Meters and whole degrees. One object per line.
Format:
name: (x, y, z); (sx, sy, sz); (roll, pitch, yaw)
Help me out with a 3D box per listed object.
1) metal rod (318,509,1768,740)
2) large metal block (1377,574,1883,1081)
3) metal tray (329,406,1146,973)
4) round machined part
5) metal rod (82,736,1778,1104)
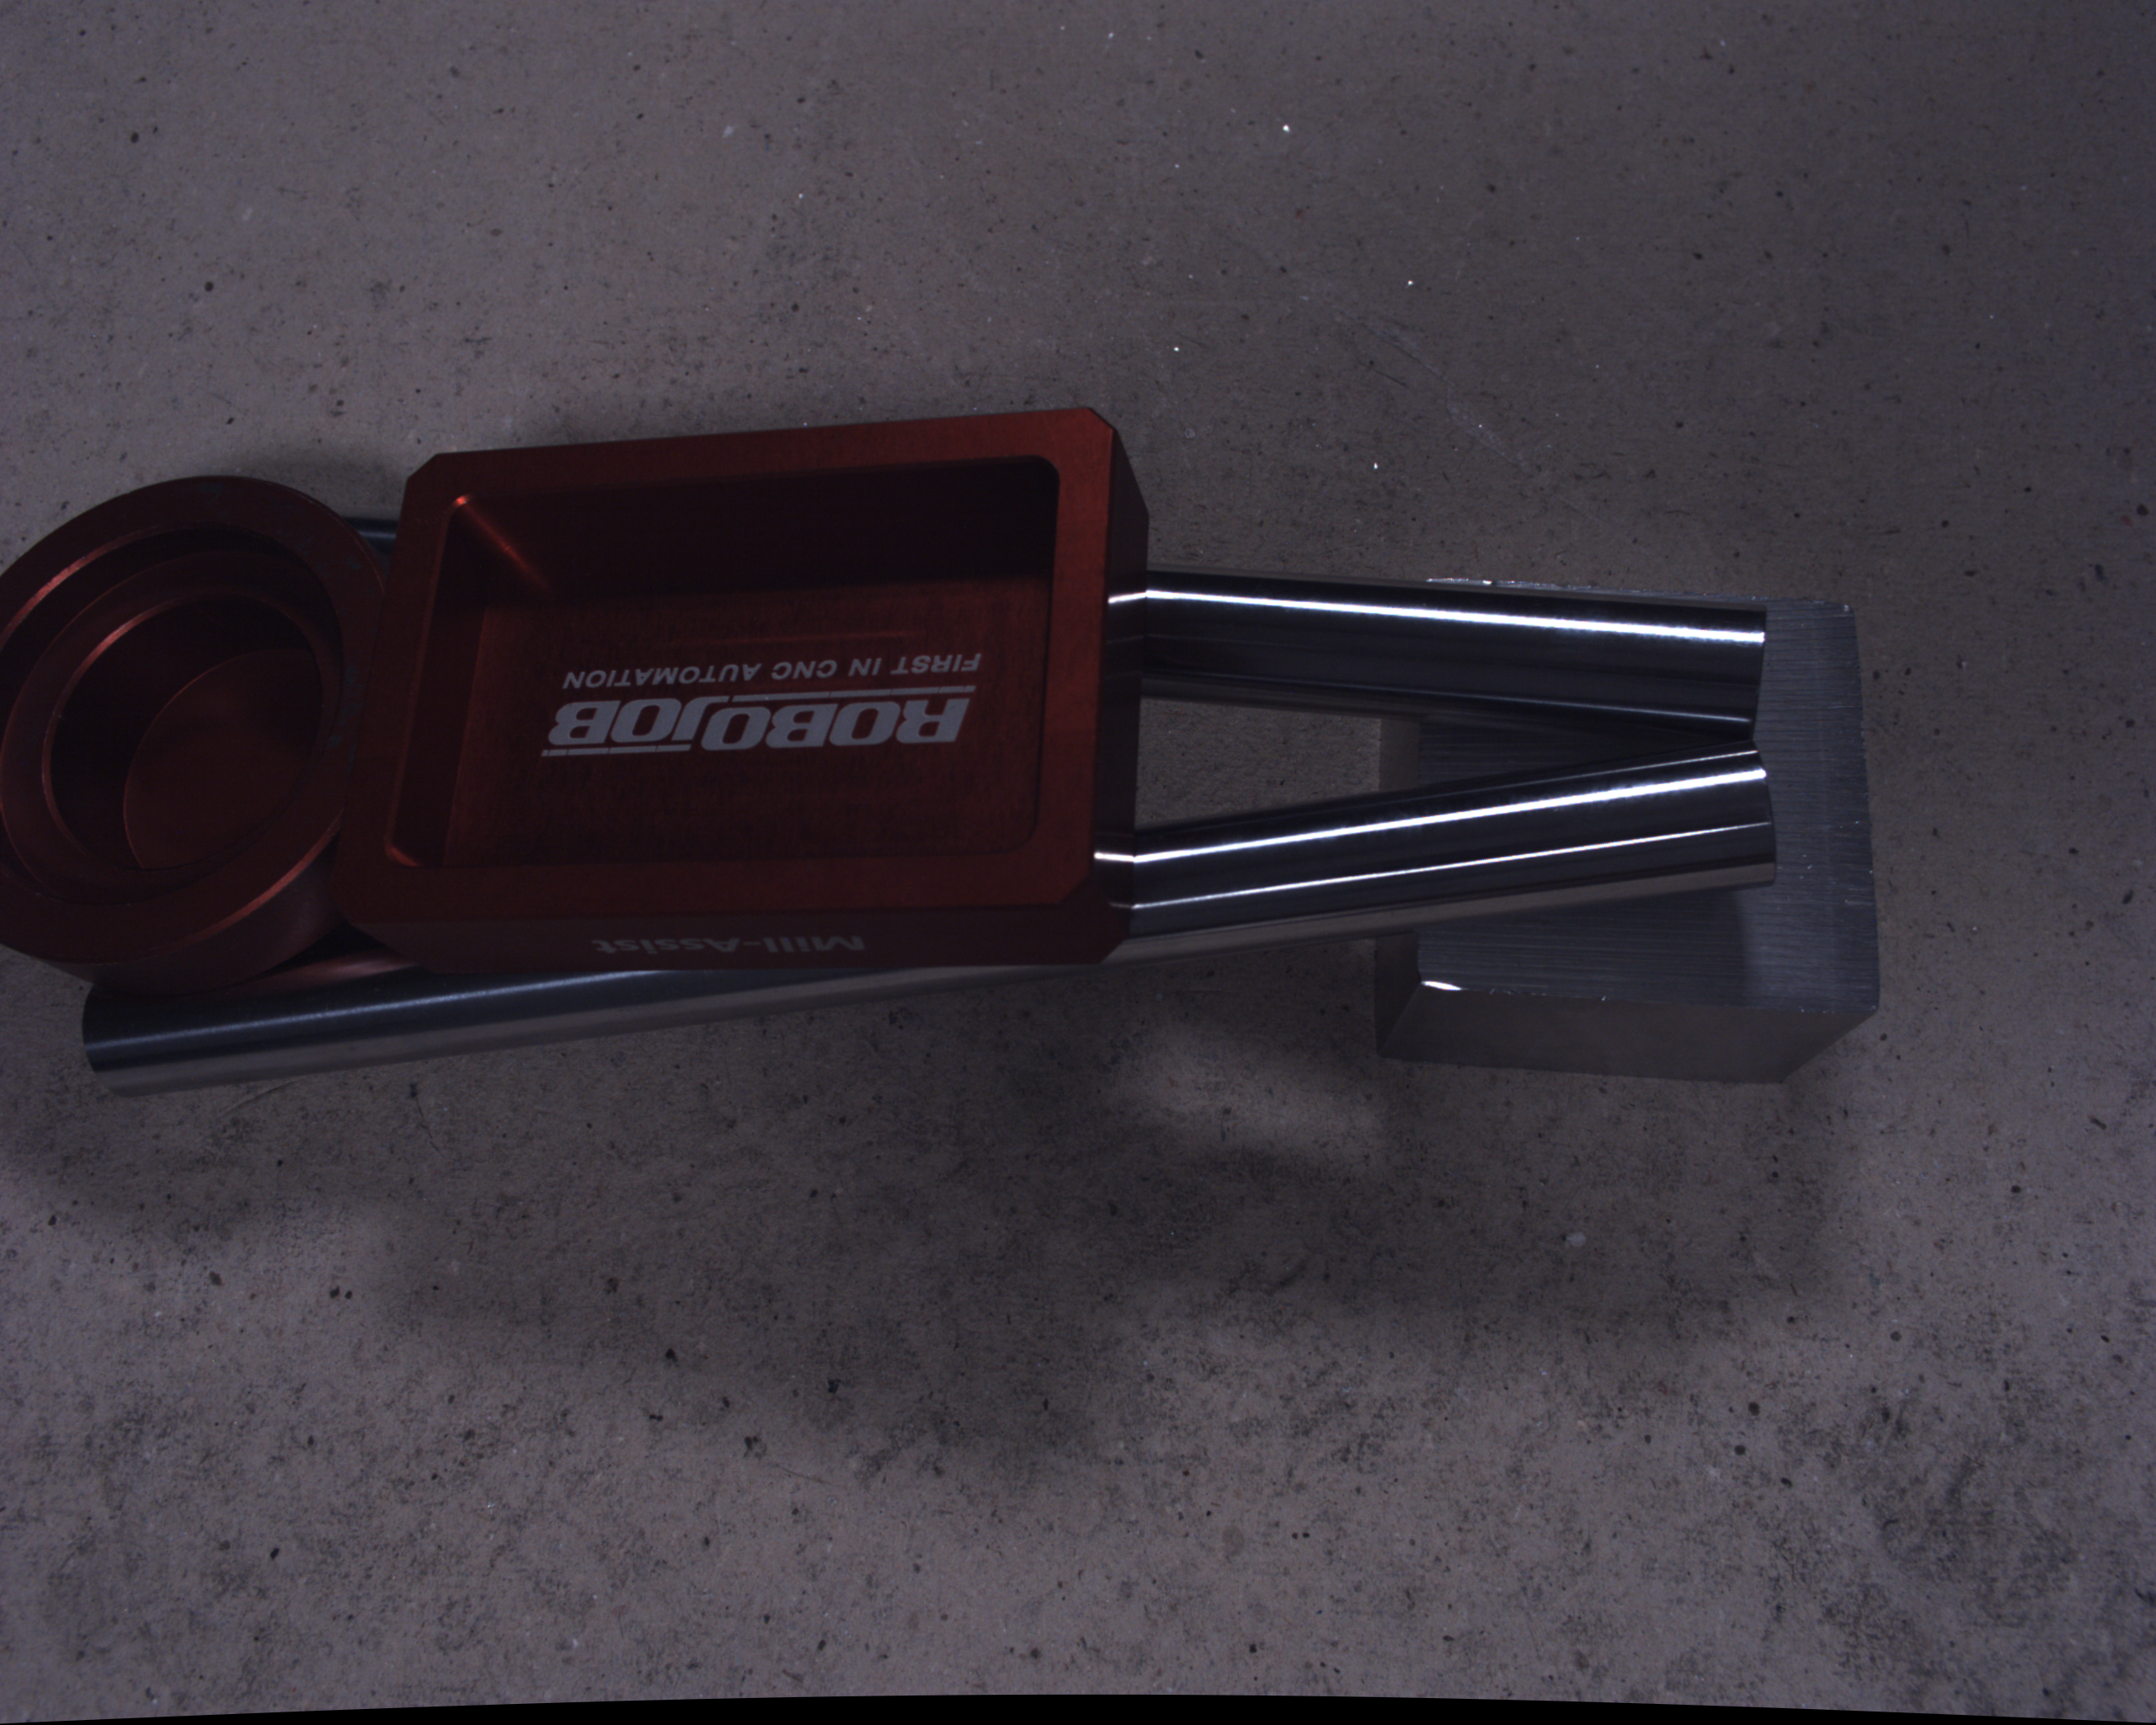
metal rod: (-0.029, -0.047, 0.392); (0.301, 0.025, 0.025); (6, 70, 15)
large metal block: (0.101, -0.006, 0.398); (0.081, 0.050, 0.080); (4, 70, 1)
metal tray: (-0.056, -0.029, 0.361); (0.131, 0.030, 0.090); (-1, 69, 12)
round machined part: (-0.165, -0.021, 0.400); (0.098, 0.042, 0.098); (-3, 69, 9)
metal rod: (-0.034, 0.012, 0.370); (0.301, 0.025, 0.025); (-8, 70, 10)
